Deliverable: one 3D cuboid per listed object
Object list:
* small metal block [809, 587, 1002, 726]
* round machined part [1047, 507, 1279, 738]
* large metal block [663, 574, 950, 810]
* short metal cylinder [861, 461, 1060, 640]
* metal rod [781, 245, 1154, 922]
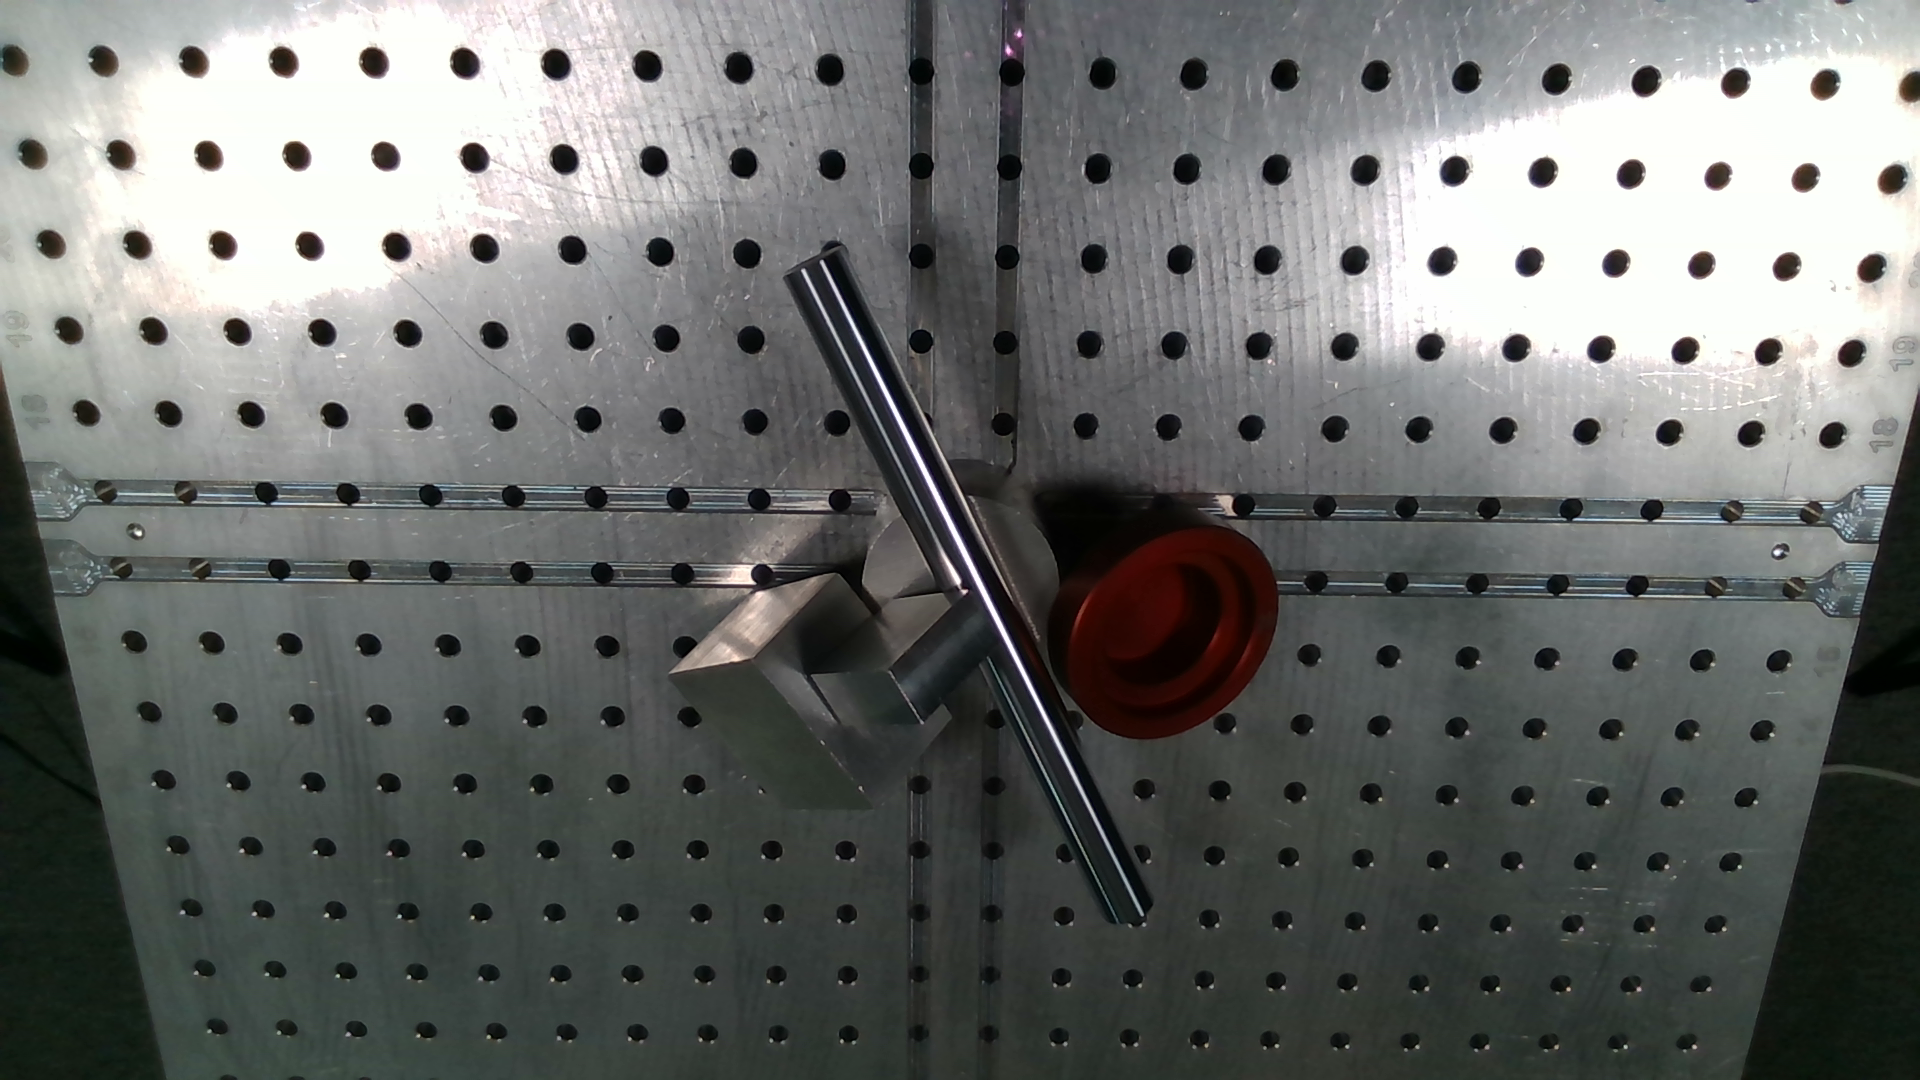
[{"bbox_3d":[-0.021,0.045,0.526,0.050,0.050,0.025,-10,117,49],"label":"small metal block"},{"bbox_3d":[0.080,0.031,0.577,0.098,0.042,0.098,-10,118,-20],"label":"round machined part"},{"bbox_3d":[-0.065,0.066,0.574,0.080,0.050,0.080,-14,118,53],"label":"large metal block"},{"bbox_3d":[0.000,0.011,0.577,0.080,0.050,0.080,0,110,0],"label":"short metal cylinder"},{"bbox_3d":[0.009,0.027,0.543,0.025,0.025,0.301,-23,109,8],"label":"metal rod"}]
